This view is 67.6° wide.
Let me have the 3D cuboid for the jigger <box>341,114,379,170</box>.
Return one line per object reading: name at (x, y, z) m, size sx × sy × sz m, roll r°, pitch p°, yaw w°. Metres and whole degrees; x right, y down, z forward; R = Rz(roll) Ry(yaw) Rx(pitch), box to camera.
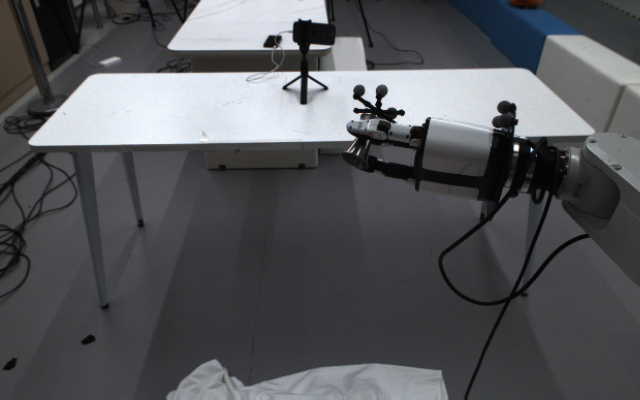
jigger at (0.061, -0.088, 0.685) m, size 0.043 × 0.043 × 0.071 m, roll 20°, pitch 73°, yaw 24°
